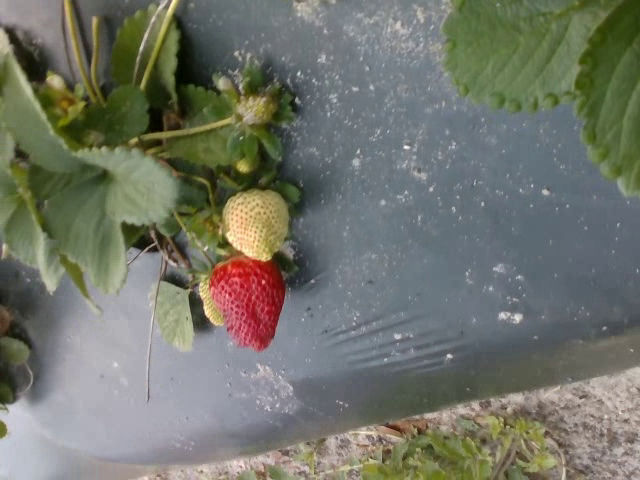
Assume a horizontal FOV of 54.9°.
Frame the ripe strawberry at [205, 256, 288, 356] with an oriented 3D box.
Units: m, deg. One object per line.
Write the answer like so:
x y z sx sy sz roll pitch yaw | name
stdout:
-0.035 0.035 0.320 0.045 0.059 0.046 -1 -15 -39 | ripe strawberry
